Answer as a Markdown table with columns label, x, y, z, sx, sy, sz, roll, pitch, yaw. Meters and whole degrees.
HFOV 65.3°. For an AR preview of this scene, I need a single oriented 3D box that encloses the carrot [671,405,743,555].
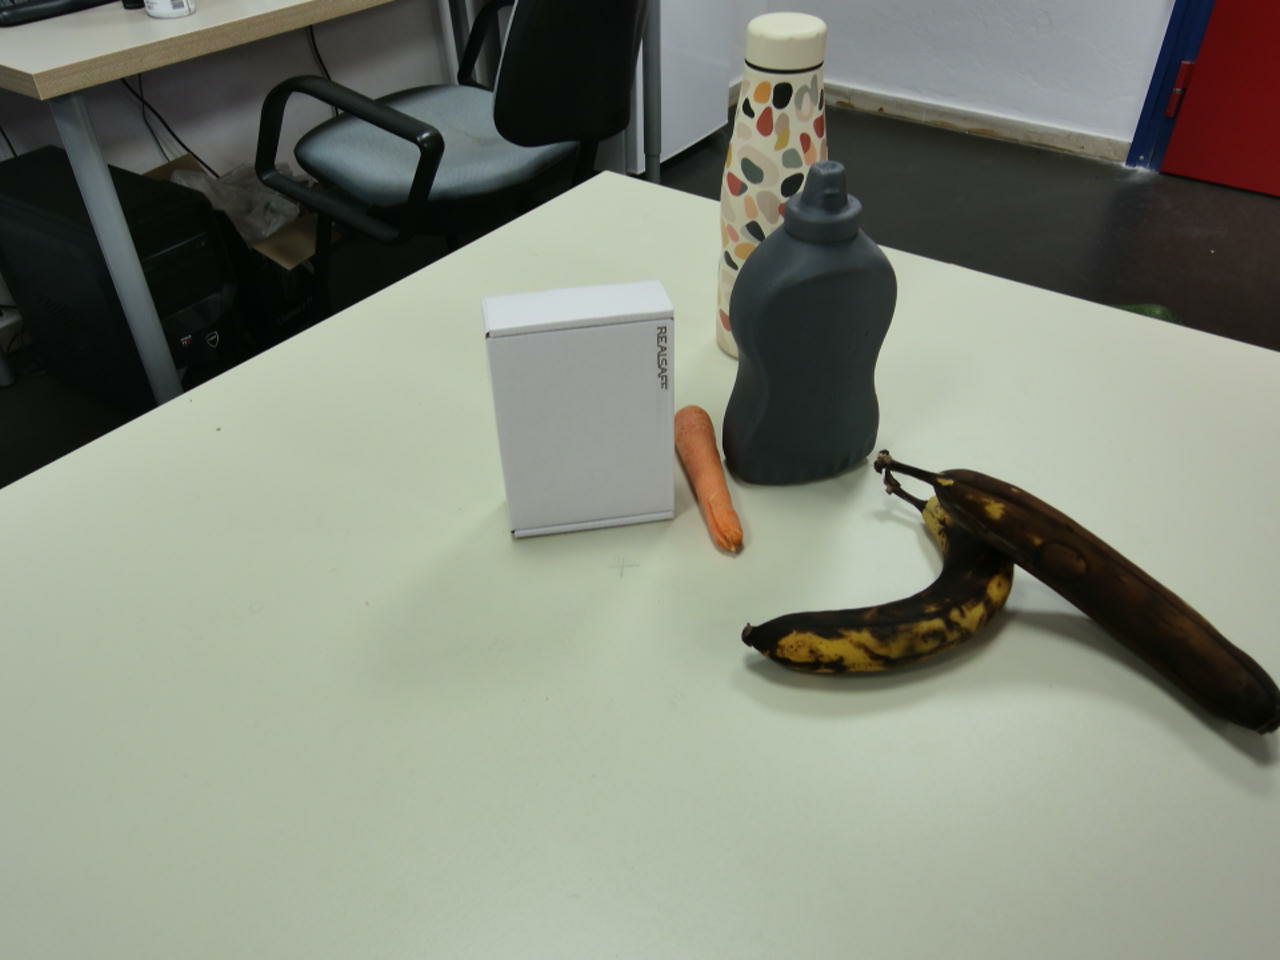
| label | x | y | z | sx | sy | sz | roll | pitch | yaw |
| --- | --- | --- | --- | --- | --- | --- | --- | --- | --- |
| carrot | 0.042 | -0.005 | 0.645 | 0.030 | 0.032 | 0.136 | -5 | 38 | -7 |
